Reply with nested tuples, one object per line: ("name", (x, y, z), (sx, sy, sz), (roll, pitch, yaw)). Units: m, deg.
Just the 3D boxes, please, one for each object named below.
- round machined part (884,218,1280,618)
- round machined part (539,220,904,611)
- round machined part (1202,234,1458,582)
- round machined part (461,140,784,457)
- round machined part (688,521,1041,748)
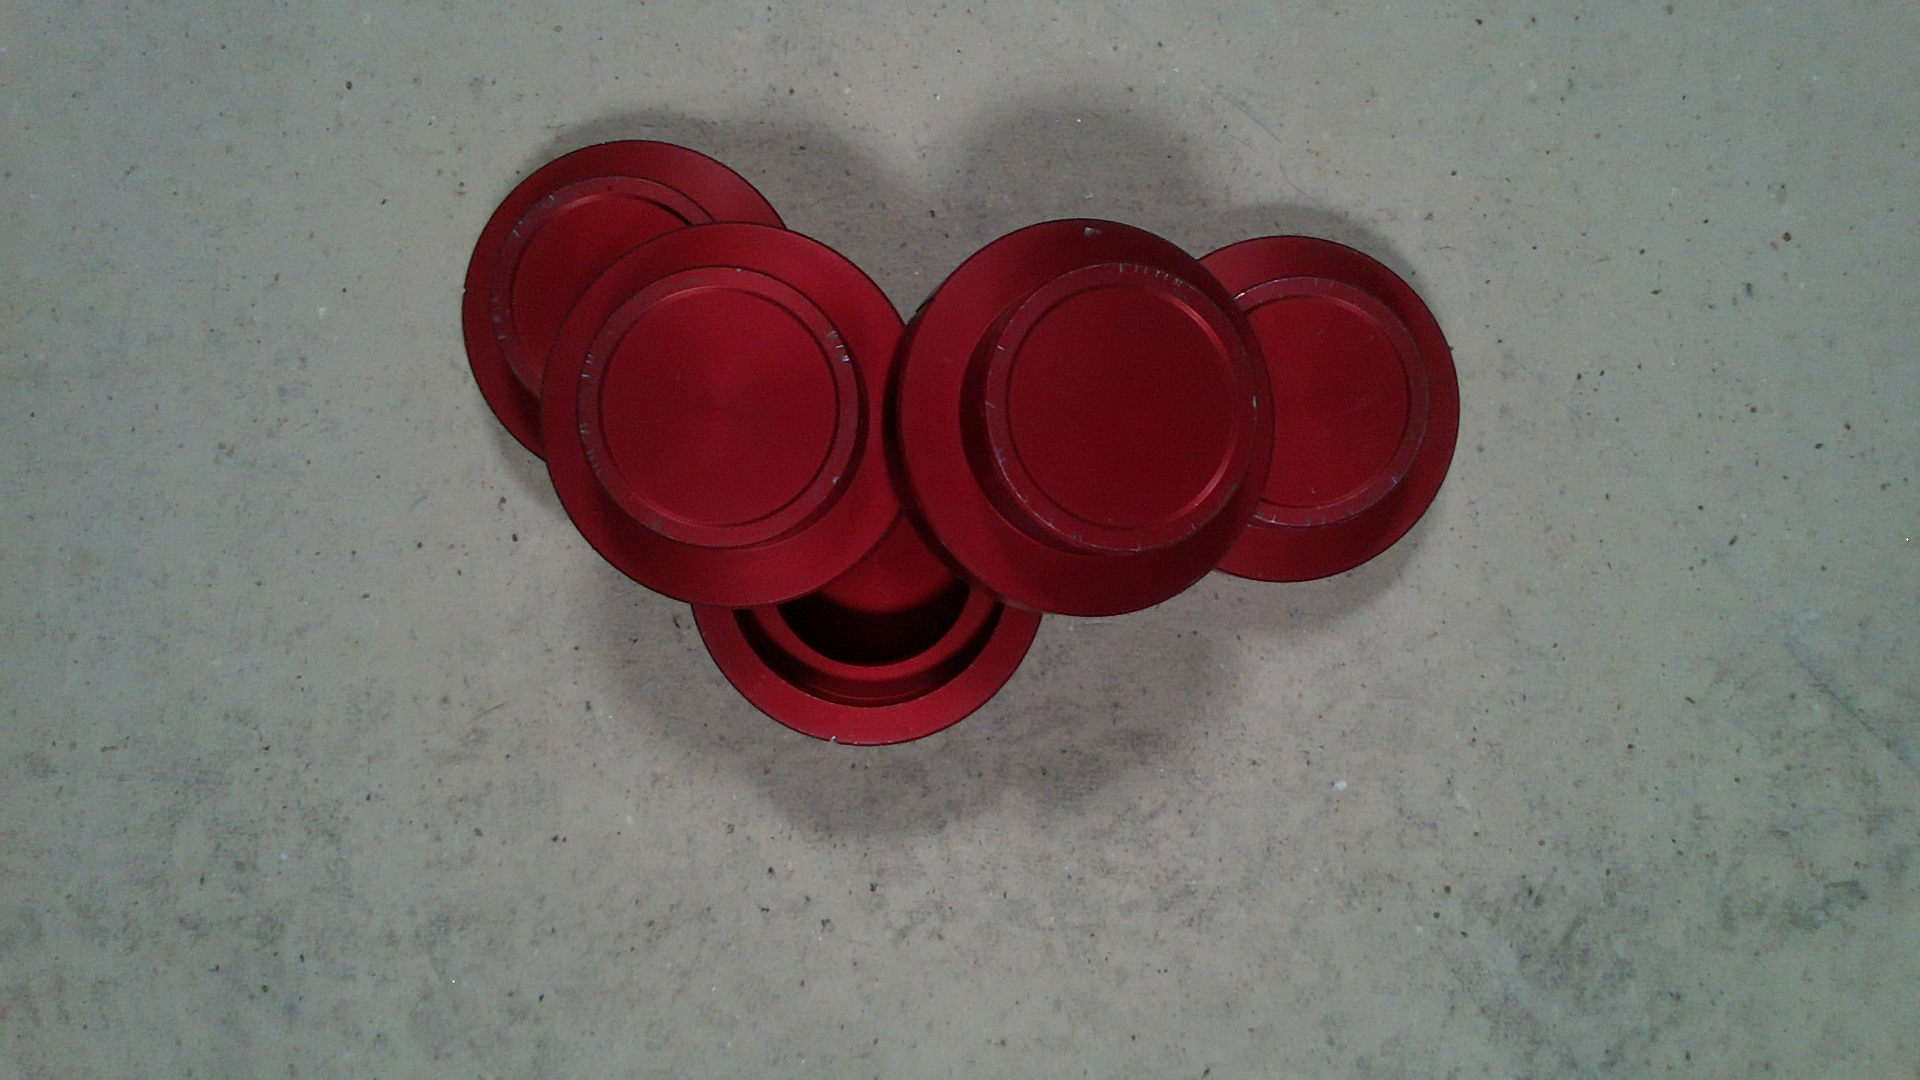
("round machined part", (0.033, -0.030, 0.335), (0.098, 0.042, 0.098), (0, 89, -13))
("round machined part", (-0.057, -0.031, 0.344), (0.098, 0.042, 0.098), (0, 90, 0))
("round machined part", (0.092, -0.037, 0.387), (0.098, 0.042, 0.098), (0, 90, 0))
("round machined part", (-0.091, -0.063, 0.386), (0.098, 0.042, 0.098), (0, 90, 0))
("round machined part", (-0.025, 0.006, 0.387), (0.098, 0.042, 0.098), (0, 90, 0))
